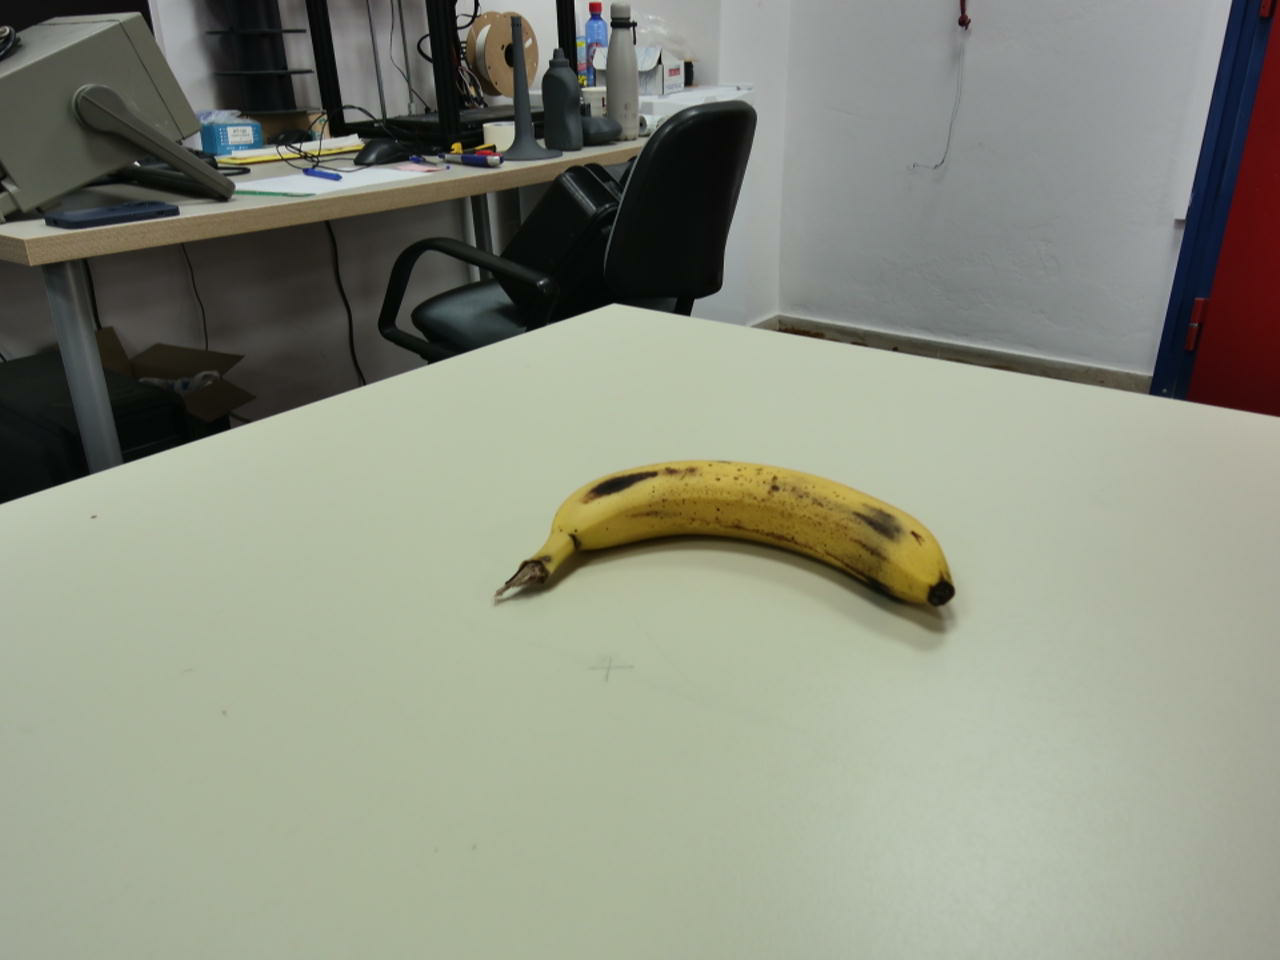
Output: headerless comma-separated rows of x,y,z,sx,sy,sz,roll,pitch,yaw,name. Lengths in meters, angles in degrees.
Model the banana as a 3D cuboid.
0.043,0.022,0.453,0.186,0.038,0.097,4,23,10,banana
